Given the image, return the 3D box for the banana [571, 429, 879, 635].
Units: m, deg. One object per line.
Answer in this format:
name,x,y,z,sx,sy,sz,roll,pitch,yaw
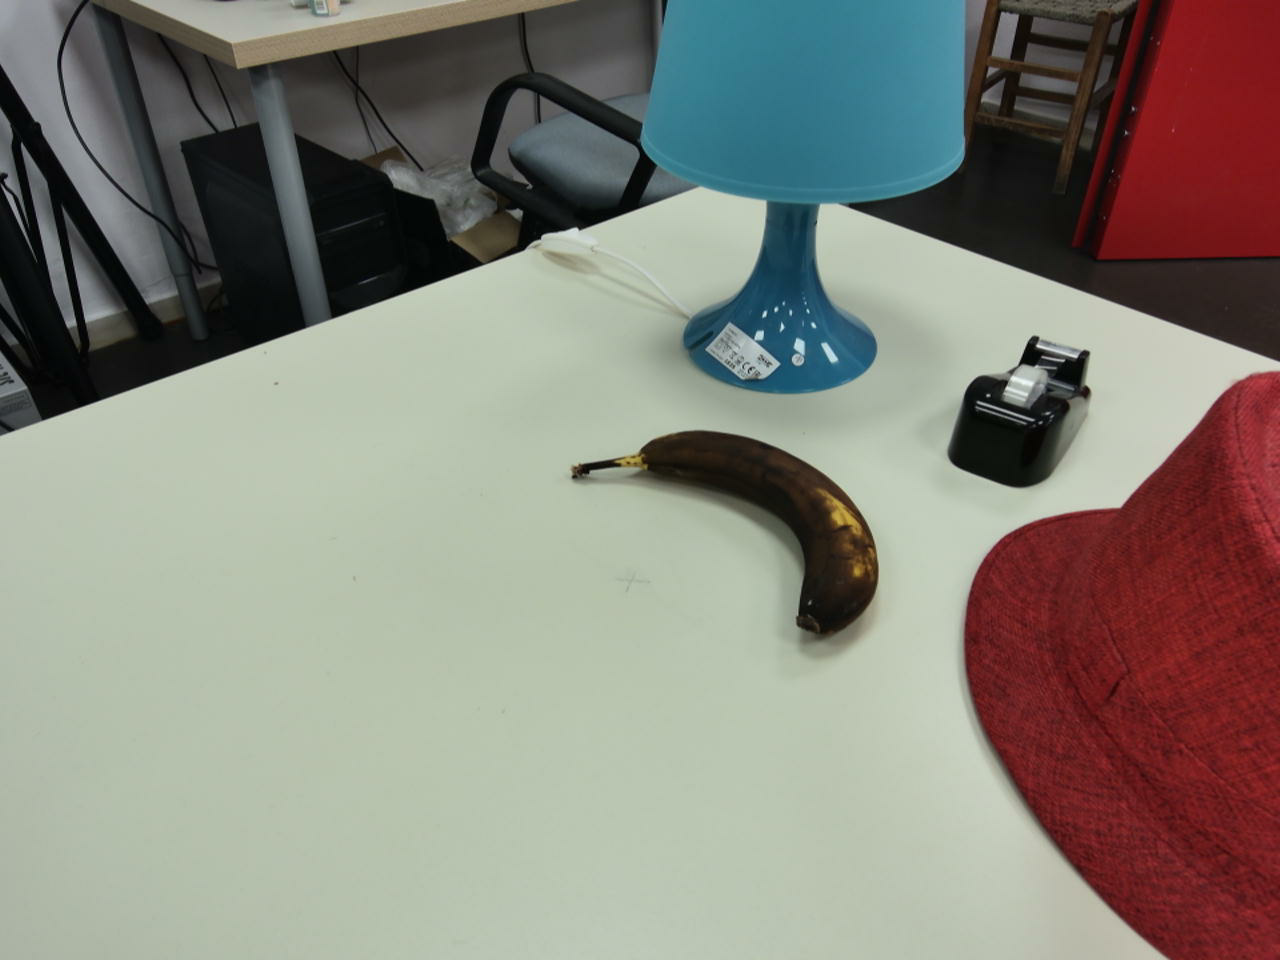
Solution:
banana,0.055,0.011,0.525,0.091,0.034,0.188,-27,43,-30
